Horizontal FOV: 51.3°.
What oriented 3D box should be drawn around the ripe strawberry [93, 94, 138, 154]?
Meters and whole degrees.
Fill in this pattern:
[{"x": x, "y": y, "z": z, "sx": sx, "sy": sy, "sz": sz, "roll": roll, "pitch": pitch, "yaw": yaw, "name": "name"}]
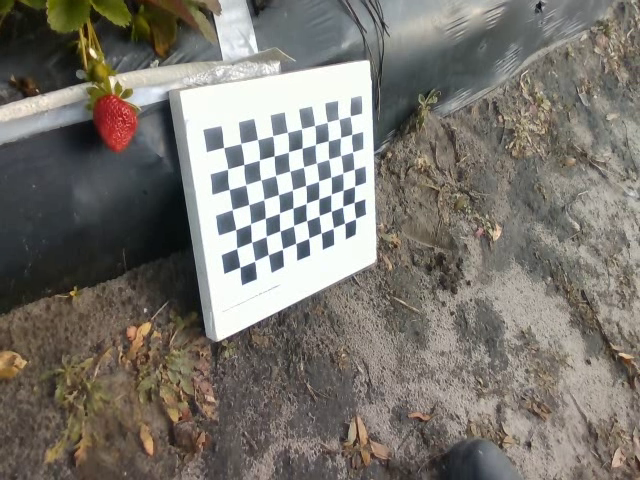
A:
[{"x": -0.167, "y": -0.095, "z": 0.542, "sx": 0.030, "sy": 0.053, "sz": 0.047, "roll": -14, "pitch": -29, "yaw": 31, "name": "ripe strawberry"}]
